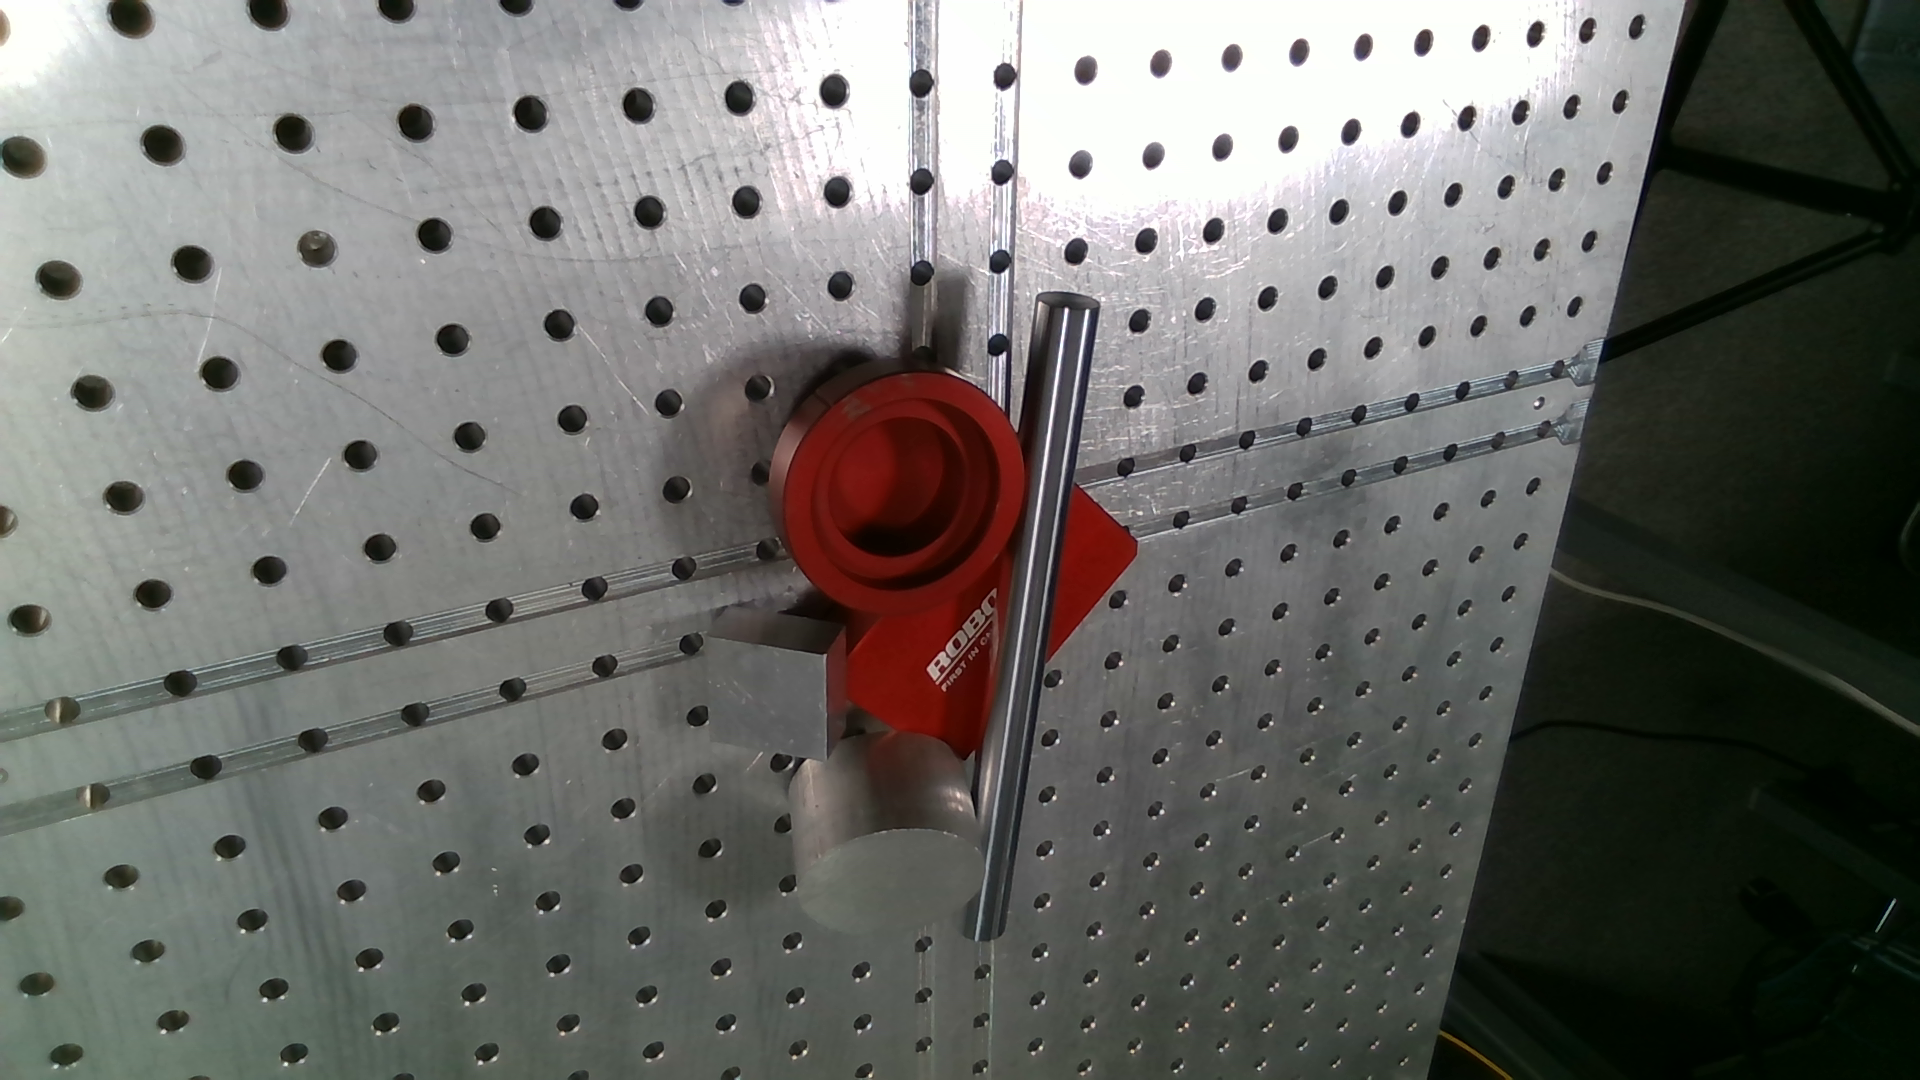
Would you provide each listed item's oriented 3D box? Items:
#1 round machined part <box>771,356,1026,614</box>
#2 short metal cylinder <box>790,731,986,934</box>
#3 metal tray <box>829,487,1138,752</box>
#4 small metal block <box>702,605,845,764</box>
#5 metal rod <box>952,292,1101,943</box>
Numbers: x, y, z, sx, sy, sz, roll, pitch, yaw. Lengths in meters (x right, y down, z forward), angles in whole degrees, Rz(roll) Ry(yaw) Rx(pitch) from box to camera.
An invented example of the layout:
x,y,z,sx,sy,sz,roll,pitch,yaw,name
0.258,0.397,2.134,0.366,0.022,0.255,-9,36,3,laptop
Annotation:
x,y,z,sx,sy,sz,roll,pitch,yaw,name
-0.027,-0.024,0.537,0.098,0.042,0.098,-9,114,-20,round machined part
-0.032,0.128,0.597,0.080,0.050,0.080,-6,135,-6,short metal cylinder
0.007,0.025,0.600,0.130,0.030,0.090,-50,129,1,metal tray
-0.074,0.058,0.552,0.050,0.025,0.050,9,118,12,small metal block
0.025,0.045,0.583,0.025,0.025,0.301,-8,119,-28,metal rod
